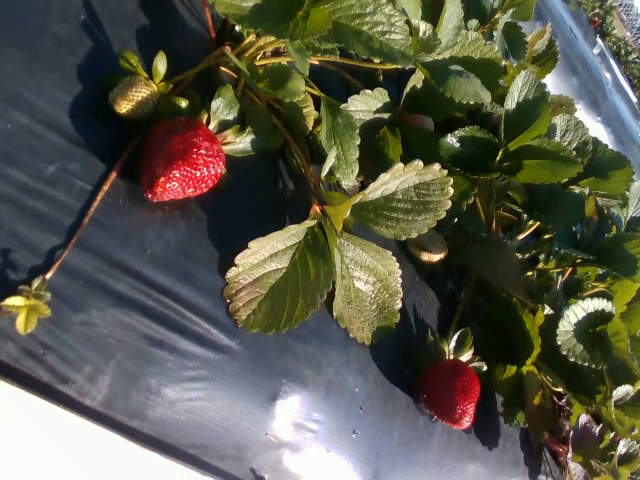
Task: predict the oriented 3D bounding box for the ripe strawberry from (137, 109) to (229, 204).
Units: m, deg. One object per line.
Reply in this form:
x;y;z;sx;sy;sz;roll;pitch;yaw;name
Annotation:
-0.062;-0.032;0.245;0.043;0.041;0.053;-27;29;19;ripe strawberry

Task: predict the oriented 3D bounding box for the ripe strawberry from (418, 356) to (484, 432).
0.076;0.095;0.332;0.043;0.043;0.050;-12;16;10;ripe strawberry
